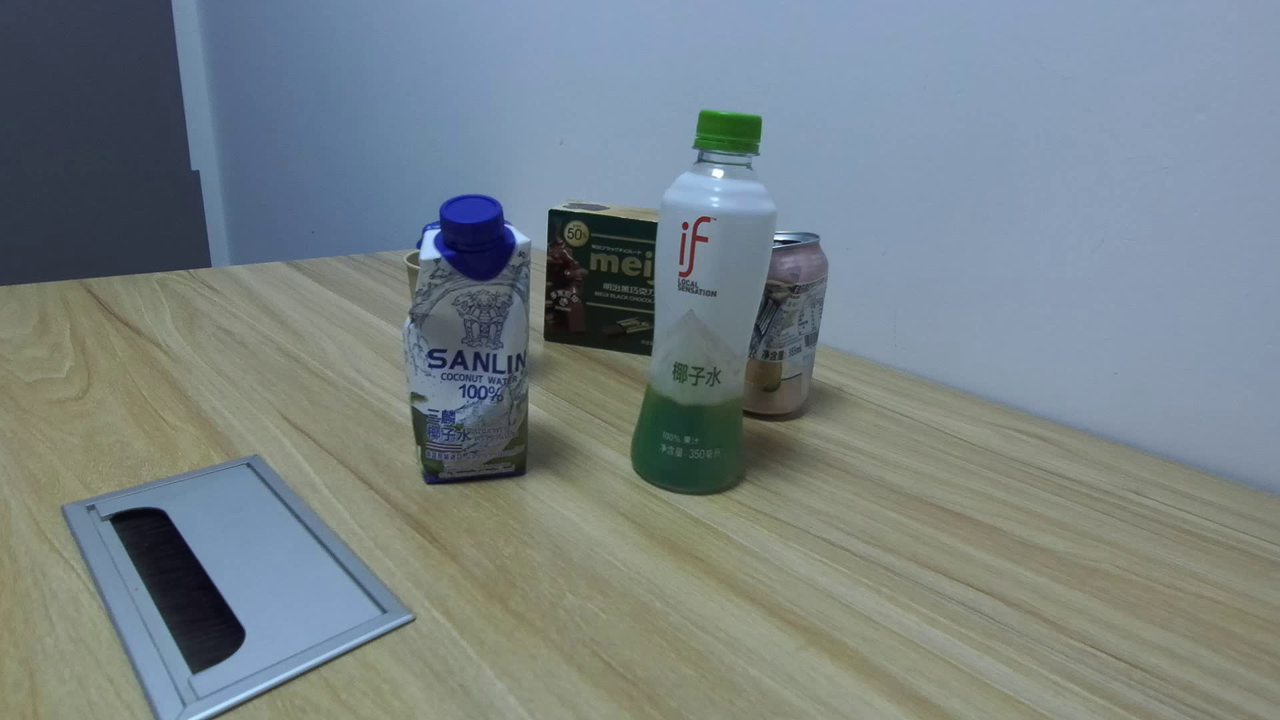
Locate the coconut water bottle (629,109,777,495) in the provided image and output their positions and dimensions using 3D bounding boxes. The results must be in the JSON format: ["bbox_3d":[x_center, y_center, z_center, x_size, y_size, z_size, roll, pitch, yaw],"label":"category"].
[{"bbox_3d":[0.035,-0.028,0.365,0.063,0.188,0.063,5,19,-1],"label":"coconut water bottle"}]

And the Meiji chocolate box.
[{"bbox_3d":[-0.017,-0.065,0.570,0.110,0.109,0.056,8,18,9],"label":"Meiji chocolate box"}]

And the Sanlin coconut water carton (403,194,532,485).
[{"bbox_3d":[-0.088,-0.012,0.361,0.061,0.143,0.069,-3,23,-19],"label":"Sanlin coconut water carton"}]

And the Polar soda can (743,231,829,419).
[{"bbox_3d":[0.083,-0.024,0.474,0.070,0.122,0.067,16,29,30],"label":"Polar soda can"}]
